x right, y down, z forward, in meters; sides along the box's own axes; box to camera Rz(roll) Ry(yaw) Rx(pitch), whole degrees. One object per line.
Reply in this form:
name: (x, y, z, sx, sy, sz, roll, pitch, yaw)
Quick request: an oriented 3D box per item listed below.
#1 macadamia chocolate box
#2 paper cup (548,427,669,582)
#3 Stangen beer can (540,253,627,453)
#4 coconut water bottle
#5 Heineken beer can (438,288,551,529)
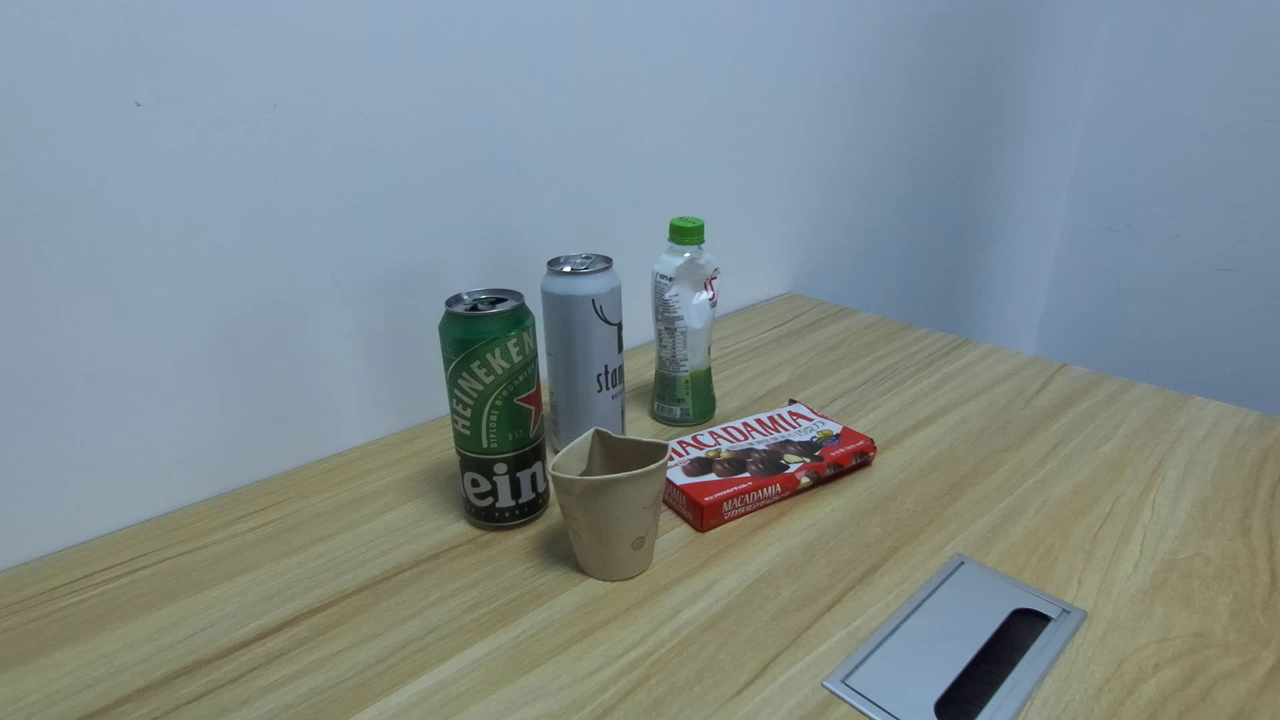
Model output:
macadamia chocolate box: (0.098, 0.081, 0.584, 0.184, 0.028, 0.105, -14, 26, -30)
paper cup: (-0.018, 0.099, 0.471, 0.071, 0.084, 0.066, 8, 25, 24)
Stangen beer can: (-0.046, -0.002, 0.603, 0.067, 0.171, 0.067, 0, 22, 0)
coconut water bottle: (0.041, -0.036, 0.647, 0.069, 0.187, 0.069, 1, 21, 0)
Heineken beer can: (-0.104, 0.038, 0.519, 0.067, 0.169, 0.067, -2, 22, 1)
